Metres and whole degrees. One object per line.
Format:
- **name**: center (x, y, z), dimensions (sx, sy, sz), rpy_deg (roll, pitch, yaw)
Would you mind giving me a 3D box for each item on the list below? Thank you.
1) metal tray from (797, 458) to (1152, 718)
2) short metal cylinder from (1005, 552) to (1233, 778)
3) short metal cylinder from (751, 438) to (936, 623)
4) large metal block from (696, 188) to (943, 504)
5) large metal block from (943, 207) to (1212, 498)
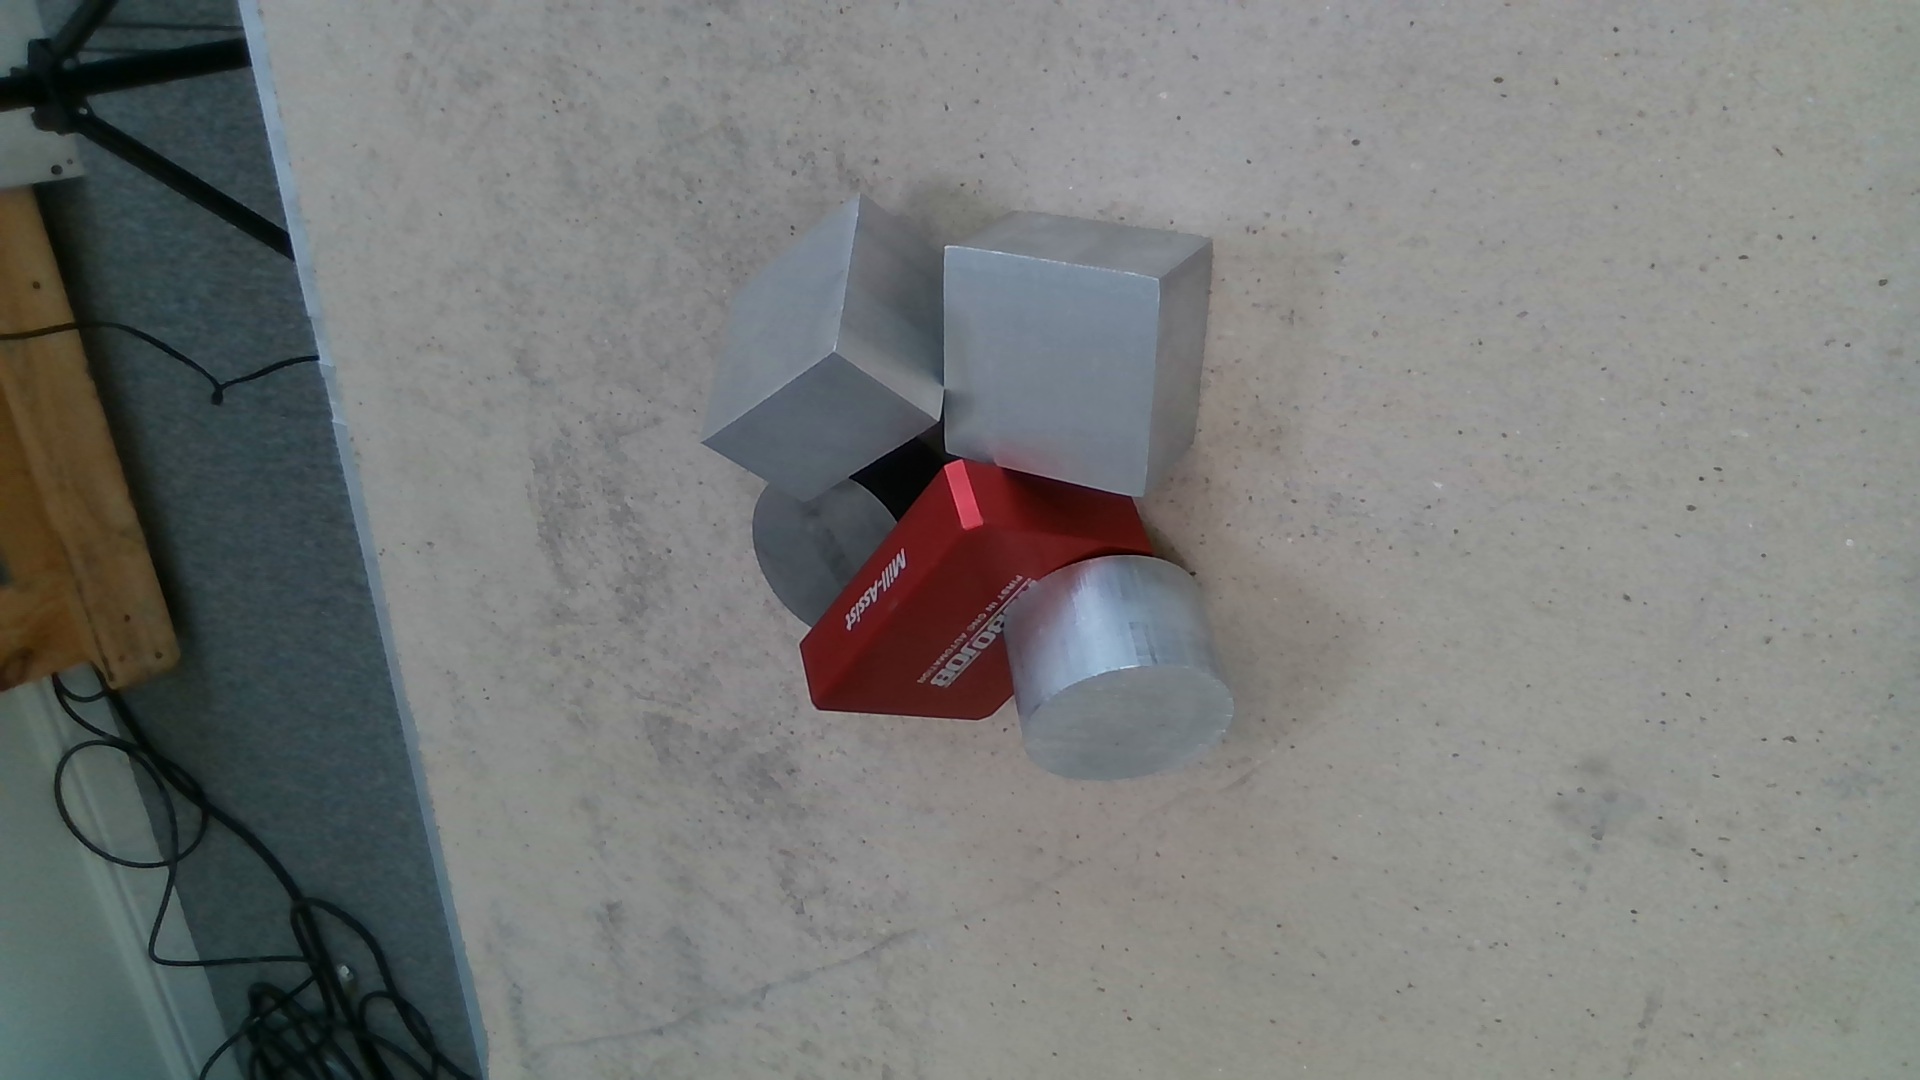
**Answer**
- **metal tray**: center (0.004, 0.025, 0.552), dimensions (0.130, 0.090, 0.030), rpy_deg (-49, 46, 39)
- **short metal cylinder**: center (0.059, 0.049, 0.529), dimensions (0.080, 0.050, 0.080), rpy_deg (-5, 141, -4)
- **short metal cylinder**: center (-0.042, -0.004, 0.589), dimensions (0.080, 0.050, 0.080), rpy_deg (14, 122, 25)
- **large metal block**: center (-0.050, -0.072, 0.527), dimensions (0.050, 0.080, 0.080), rpy_deg (31, 139, -34)
- **large metal block**: center (0.041, -0.070, 0.498), dimensions (0.080, 0.050, 0.080), rpy_deg (15, 122, 24)
